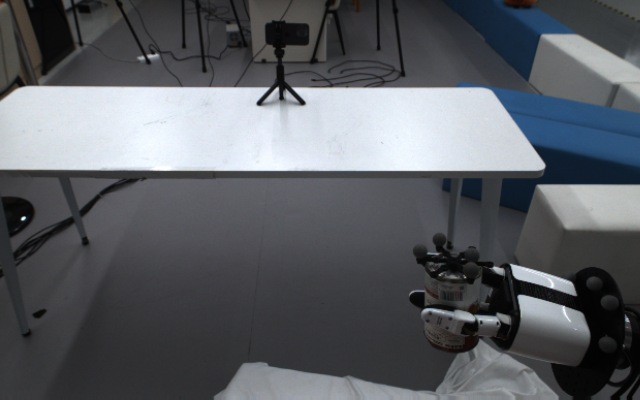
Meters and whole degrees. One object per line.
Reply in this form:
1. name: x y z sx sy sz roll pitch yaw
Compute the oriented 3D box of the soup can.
1. soup can: 0.165 0.124 0.594 0.067 0.101 0.067 -4 21 2
